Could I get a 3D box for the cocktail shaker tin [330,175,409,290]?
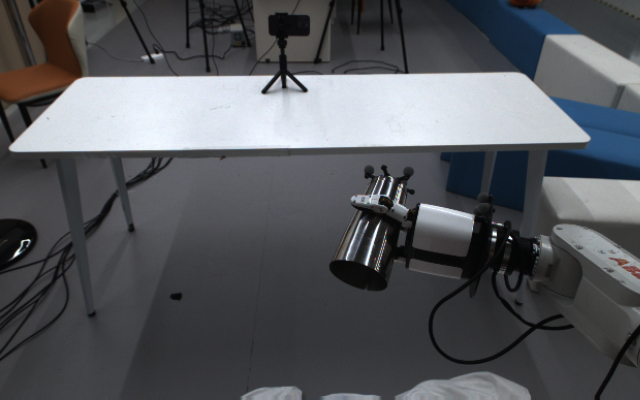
[{"bbox_3d":[0.083,0.044,0.760,0.093,0.093,0.170,14,57,16],"label":"cocktail shaker tin"}]
